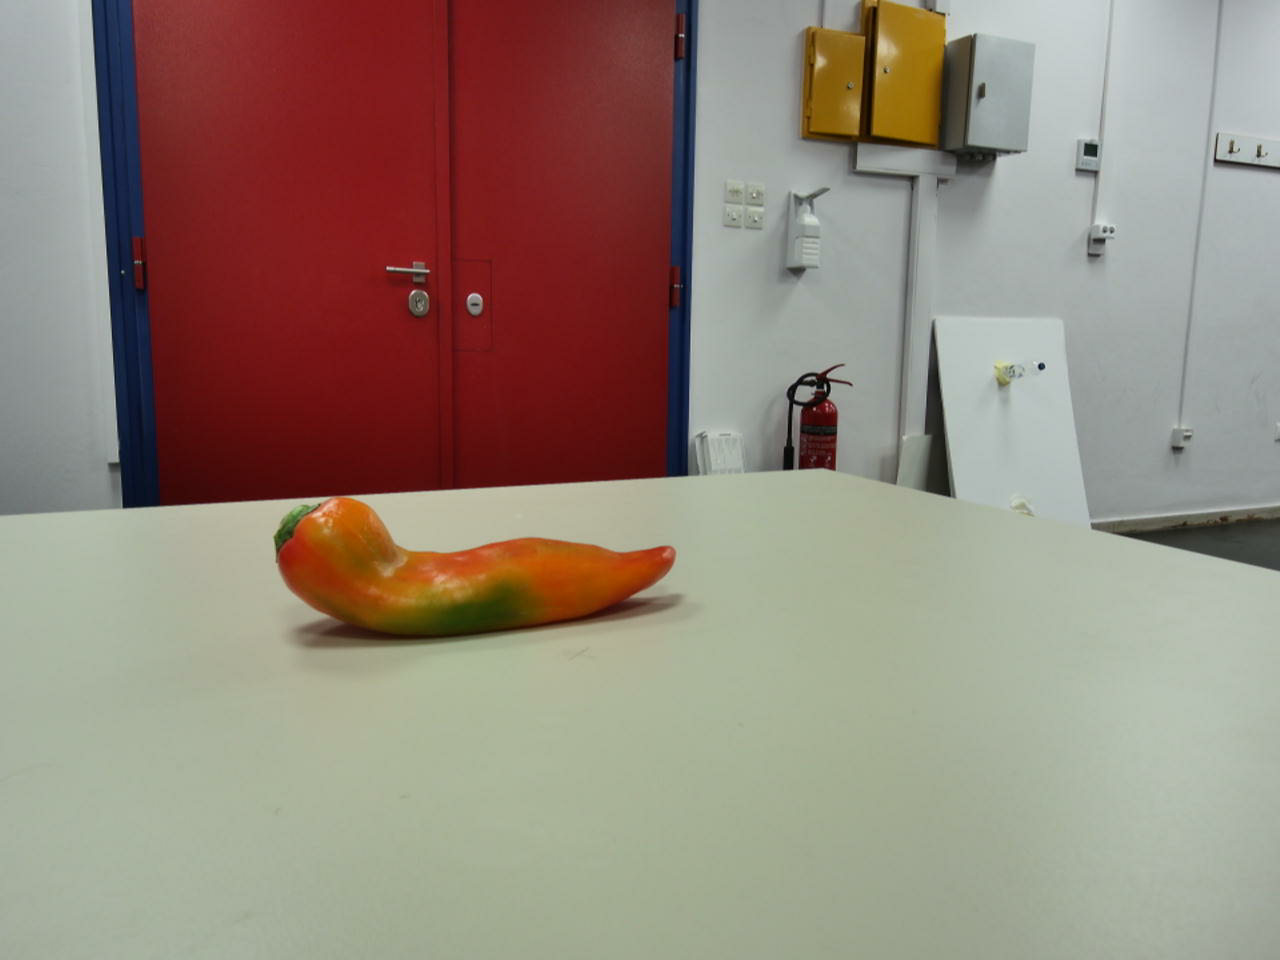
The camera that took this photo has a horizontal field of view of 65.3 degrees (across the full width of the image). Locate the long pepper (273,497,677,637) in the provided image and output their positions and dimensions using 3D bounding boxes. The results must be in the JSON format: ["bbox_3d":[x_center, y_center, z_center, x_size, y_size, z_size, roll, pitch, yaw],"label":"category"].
[{"bbox_3d":[-0.072,0.037,0.488,0.199,0.065,0.066,-2,7,-20],"label":"long pepper"}]
